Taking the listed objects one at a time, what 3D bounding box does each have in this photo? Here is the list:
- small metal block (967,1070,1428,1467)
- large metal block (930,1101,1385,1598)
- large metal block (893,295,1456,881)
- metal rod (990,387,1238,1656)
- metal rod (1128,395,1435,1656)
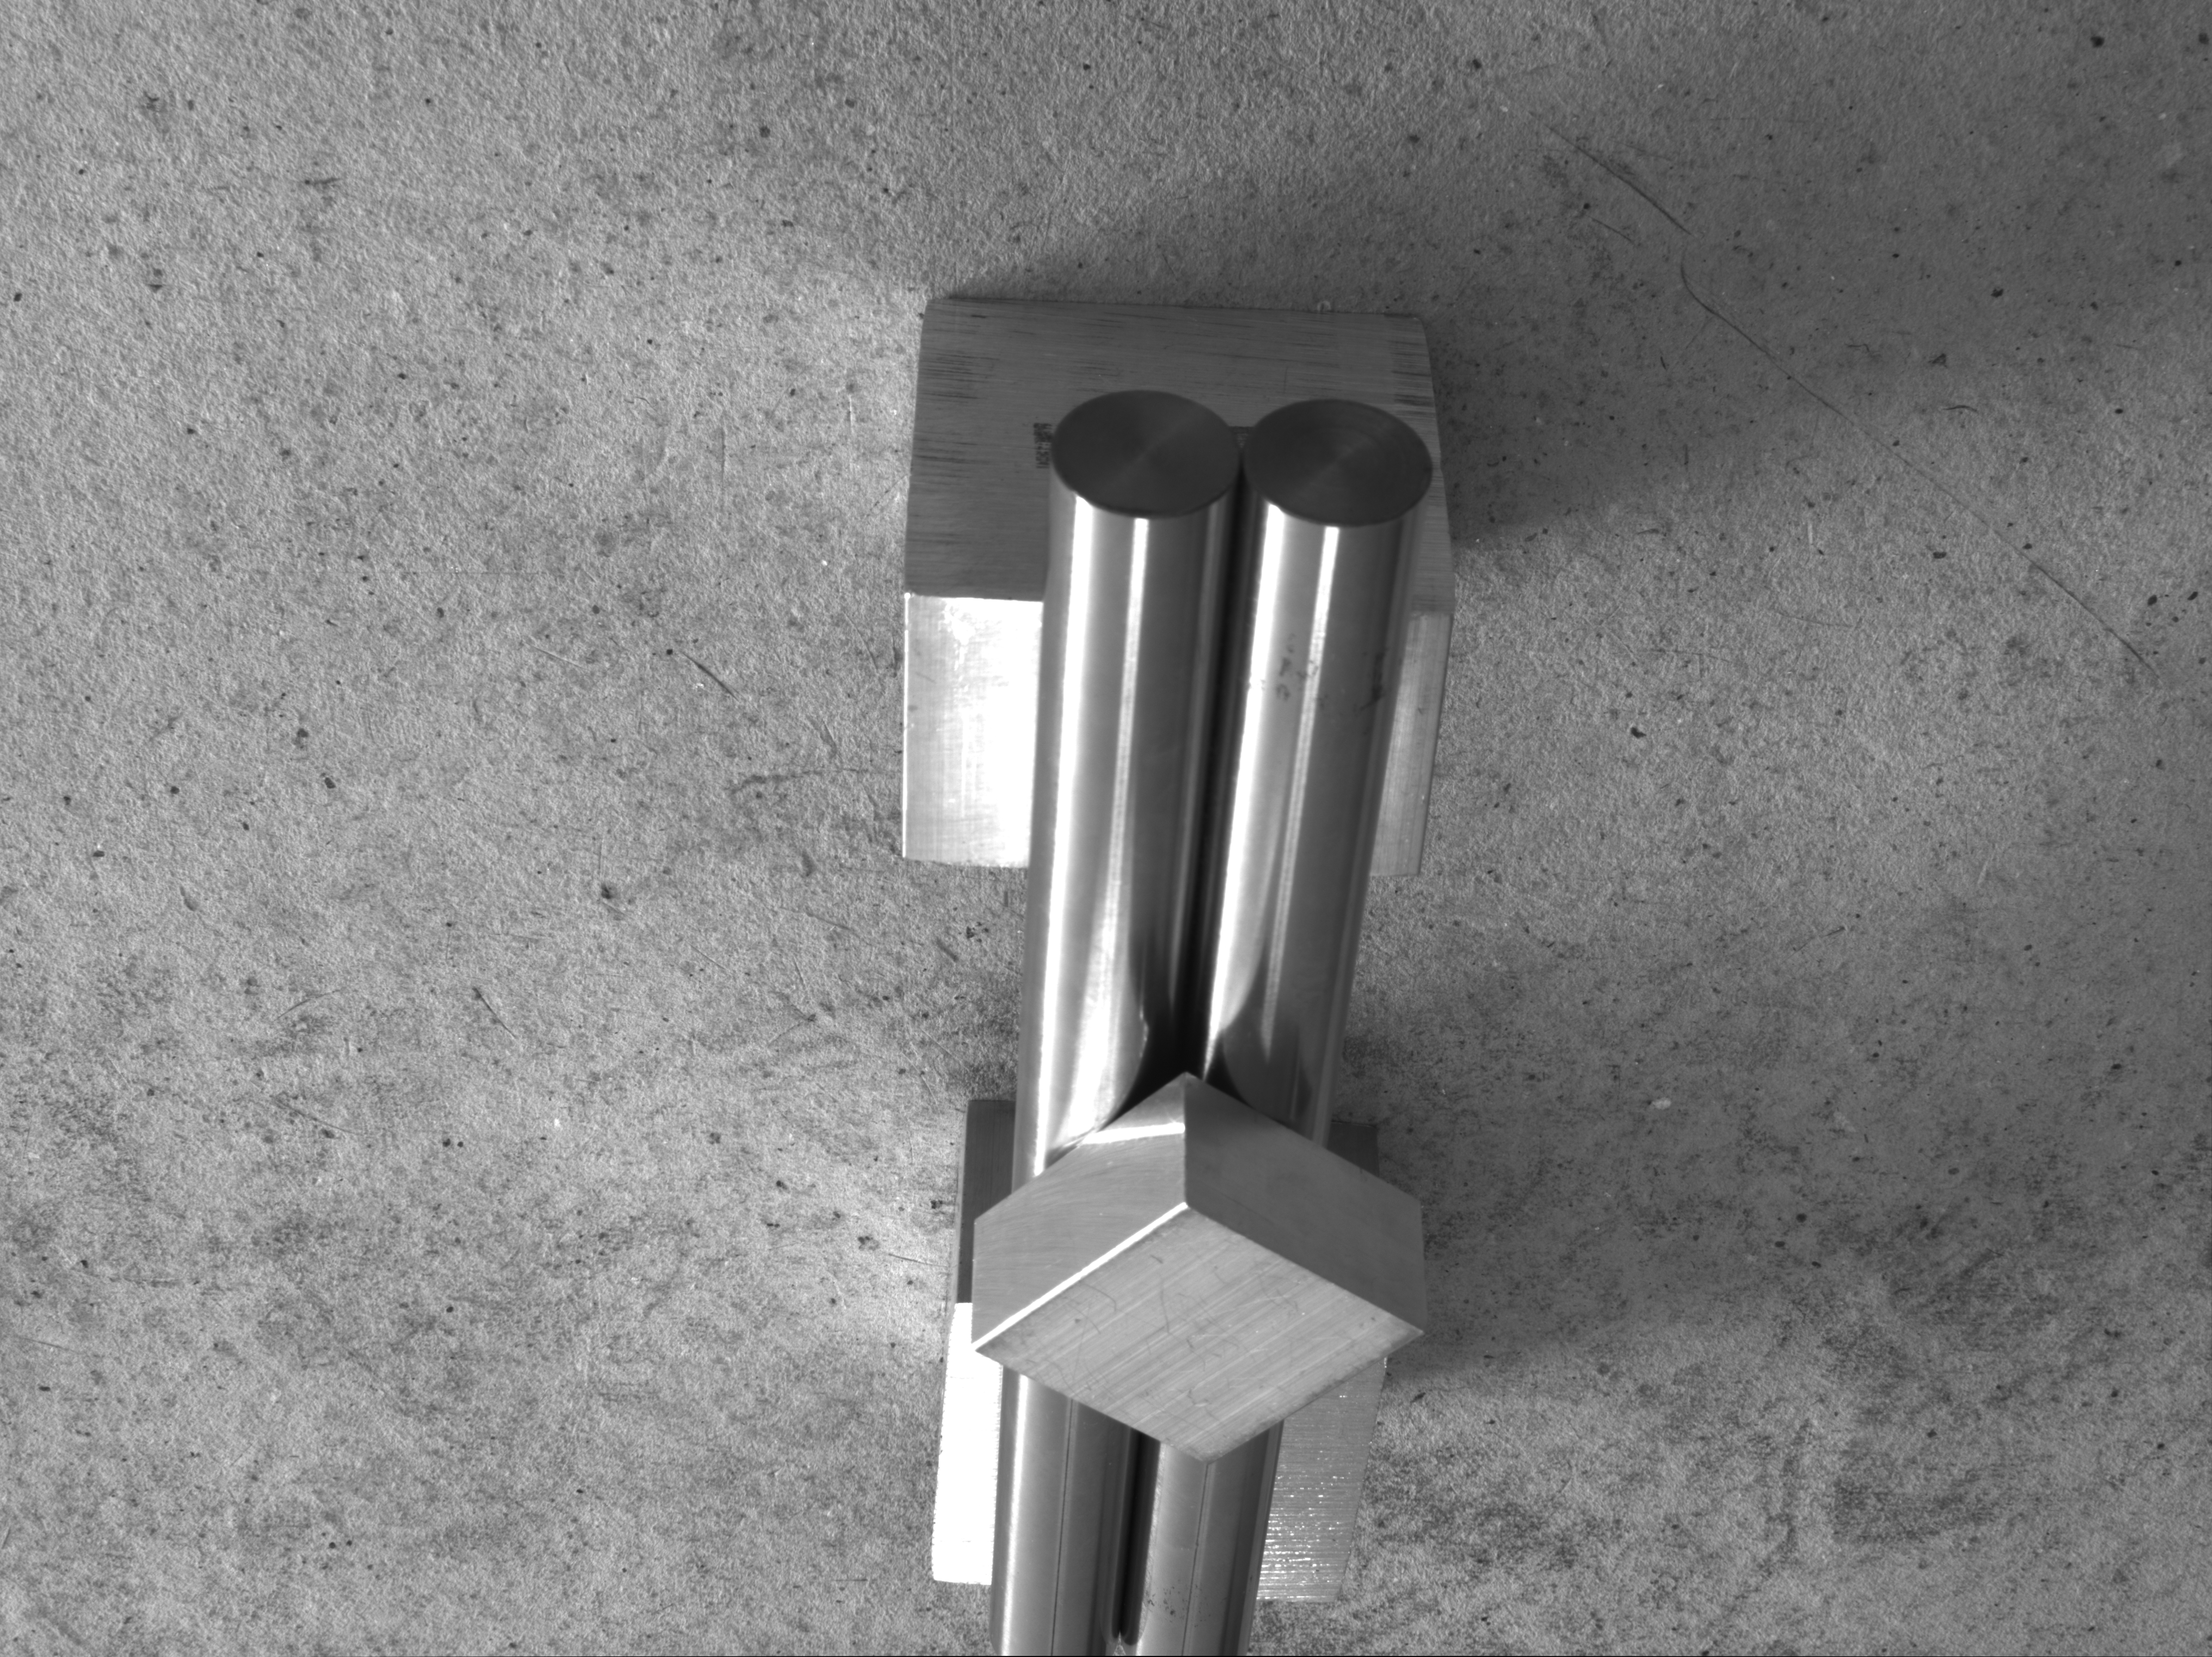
[{"bbox_3d":[0.014,0.069,0.571,0.050,0.025,0.050,30,130,-29],"label":"small metal block"},{"bbox_3d":[0.009,0.101,0.707,0.080,0.050,0.080,4,130,-3],"label":"large metal block"},{"bbox_3d":[0.009,-0.038,0.572,0.080,0.080,0.050,3,130,-2],"label":"large metal block"},{"bbox_3d":[-0.003,0.053,0.589,0.025,0.025,0.300,2,137,-2],"label":"metal rod"},{"bbox_3d":[0.023,0.054,0.590,0.025,0.025,0.300,2,137,-2],"label":"metal rod"}]
